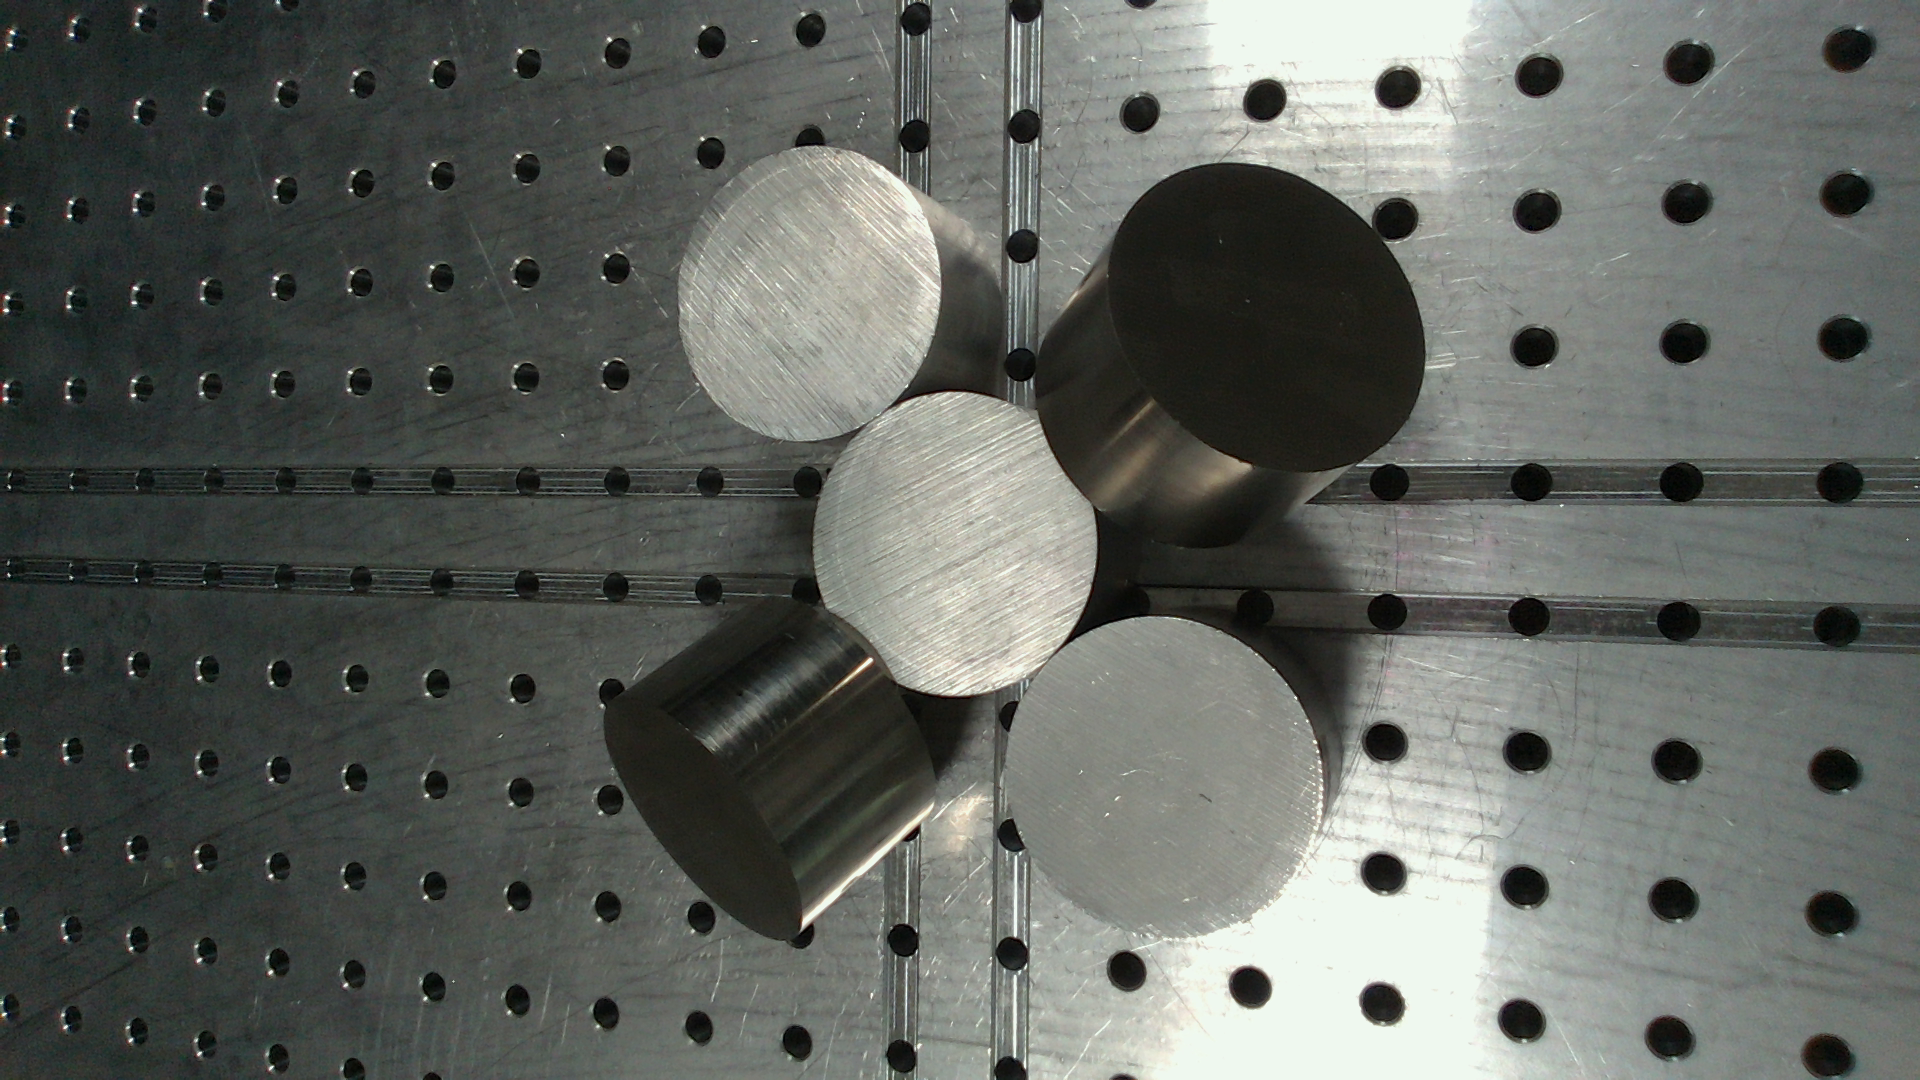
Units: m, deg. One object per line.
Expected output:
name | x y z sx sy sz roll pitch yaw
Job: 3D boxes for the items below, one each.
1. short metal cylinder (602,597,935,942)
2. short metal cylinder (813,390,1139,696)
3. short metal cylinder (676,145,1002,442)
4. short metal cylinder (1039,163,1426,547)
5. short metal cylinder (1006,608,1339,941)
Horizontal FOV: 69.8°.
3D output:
short metal cylinder | -0.053 0.063 0.382 0.080 0.050 0.080 31 141 29
short metal cylinder | 0.006 0.001 0.383 0.080 0.050 0.080 0 90 20
short metal cylinder | -0.034 -0.067 0.397 0.080 0.050 0.080 0 90 20
short metal cylinder | 0.066 -0.044 0.340 0.080 0.050 0.080 6 69 -15
short metal cylinder | 0.058 0.059 0.364 0.080 0.050 0.080 0 90 20
